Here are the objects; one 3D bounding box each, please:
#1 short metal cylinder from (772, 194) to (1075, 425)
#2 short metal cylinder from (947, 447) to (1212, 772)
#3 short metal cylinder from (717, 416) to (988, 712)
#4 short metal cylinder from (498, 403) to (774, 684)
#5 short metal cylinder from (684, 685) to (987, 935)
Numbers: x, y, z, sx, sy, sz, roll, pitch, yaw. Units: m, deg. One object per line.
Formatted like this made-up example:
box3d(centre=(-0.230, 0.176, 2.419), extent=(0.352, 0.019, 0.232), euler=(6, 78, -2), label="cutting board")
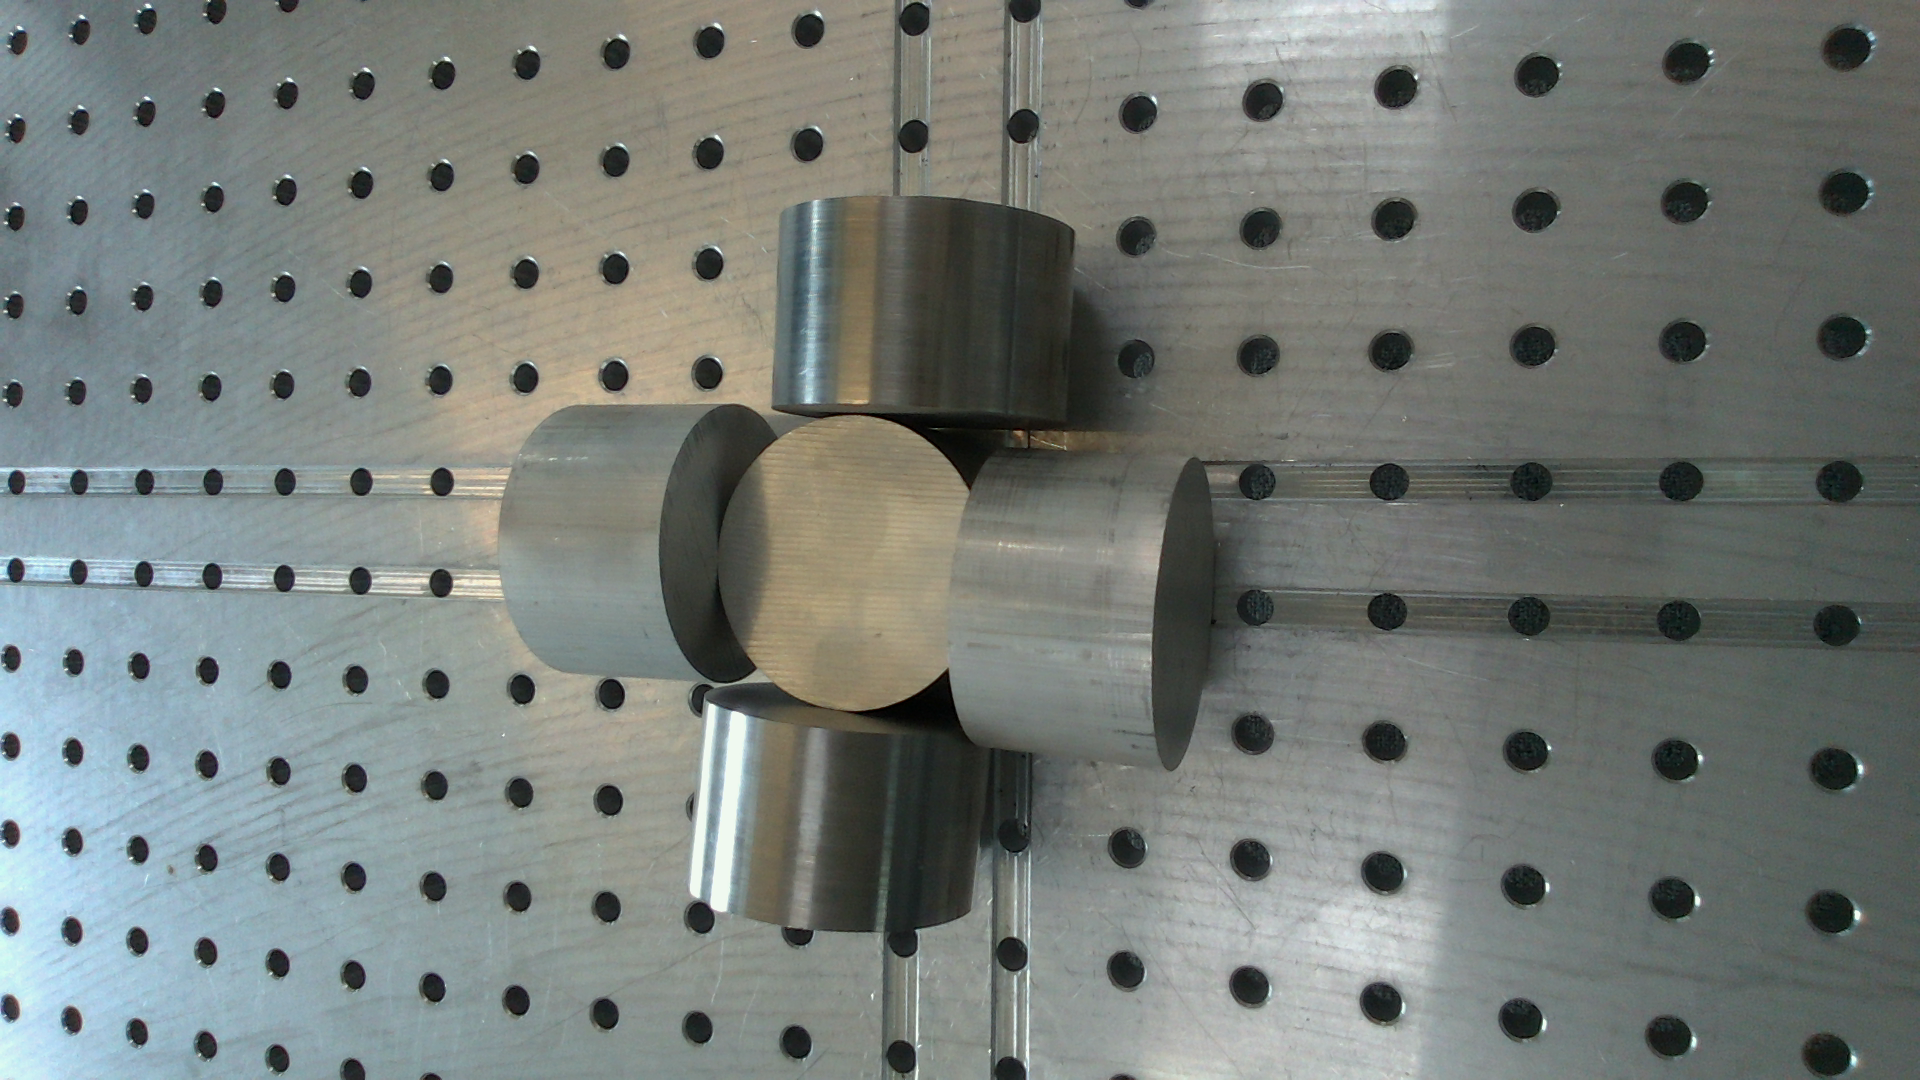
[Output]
box3d(centre=(-0.010, -0.059, 0.372), extent=(0.080, 0.080, 0.050), euler=(3, 91, 20), label="short metal cylinder")
box3d(centre=(0.034, 0.017, 0.357), extent=(0.050, 0.080, 0.080), euler=(4, 91, 20), label="short metal cylinder")
box3d(centre=(-0.022, 0.006, 0.394), extent=(0.080, 0.050, 0.080), euler=(0, 90, 19), label="short metal cylinder")
box3d(centre=(-0.088, 0.000, 0.401), extent=(0.050, 0.080, 0.080), euler=(2, 91, 19), label="short metal cylinder")
box3d(centre=(-0.034, 0.071, 0.380), extent=(0.080, 0.080, 0.050), euler=(7, 92, 20), label="short metal cylinder")
